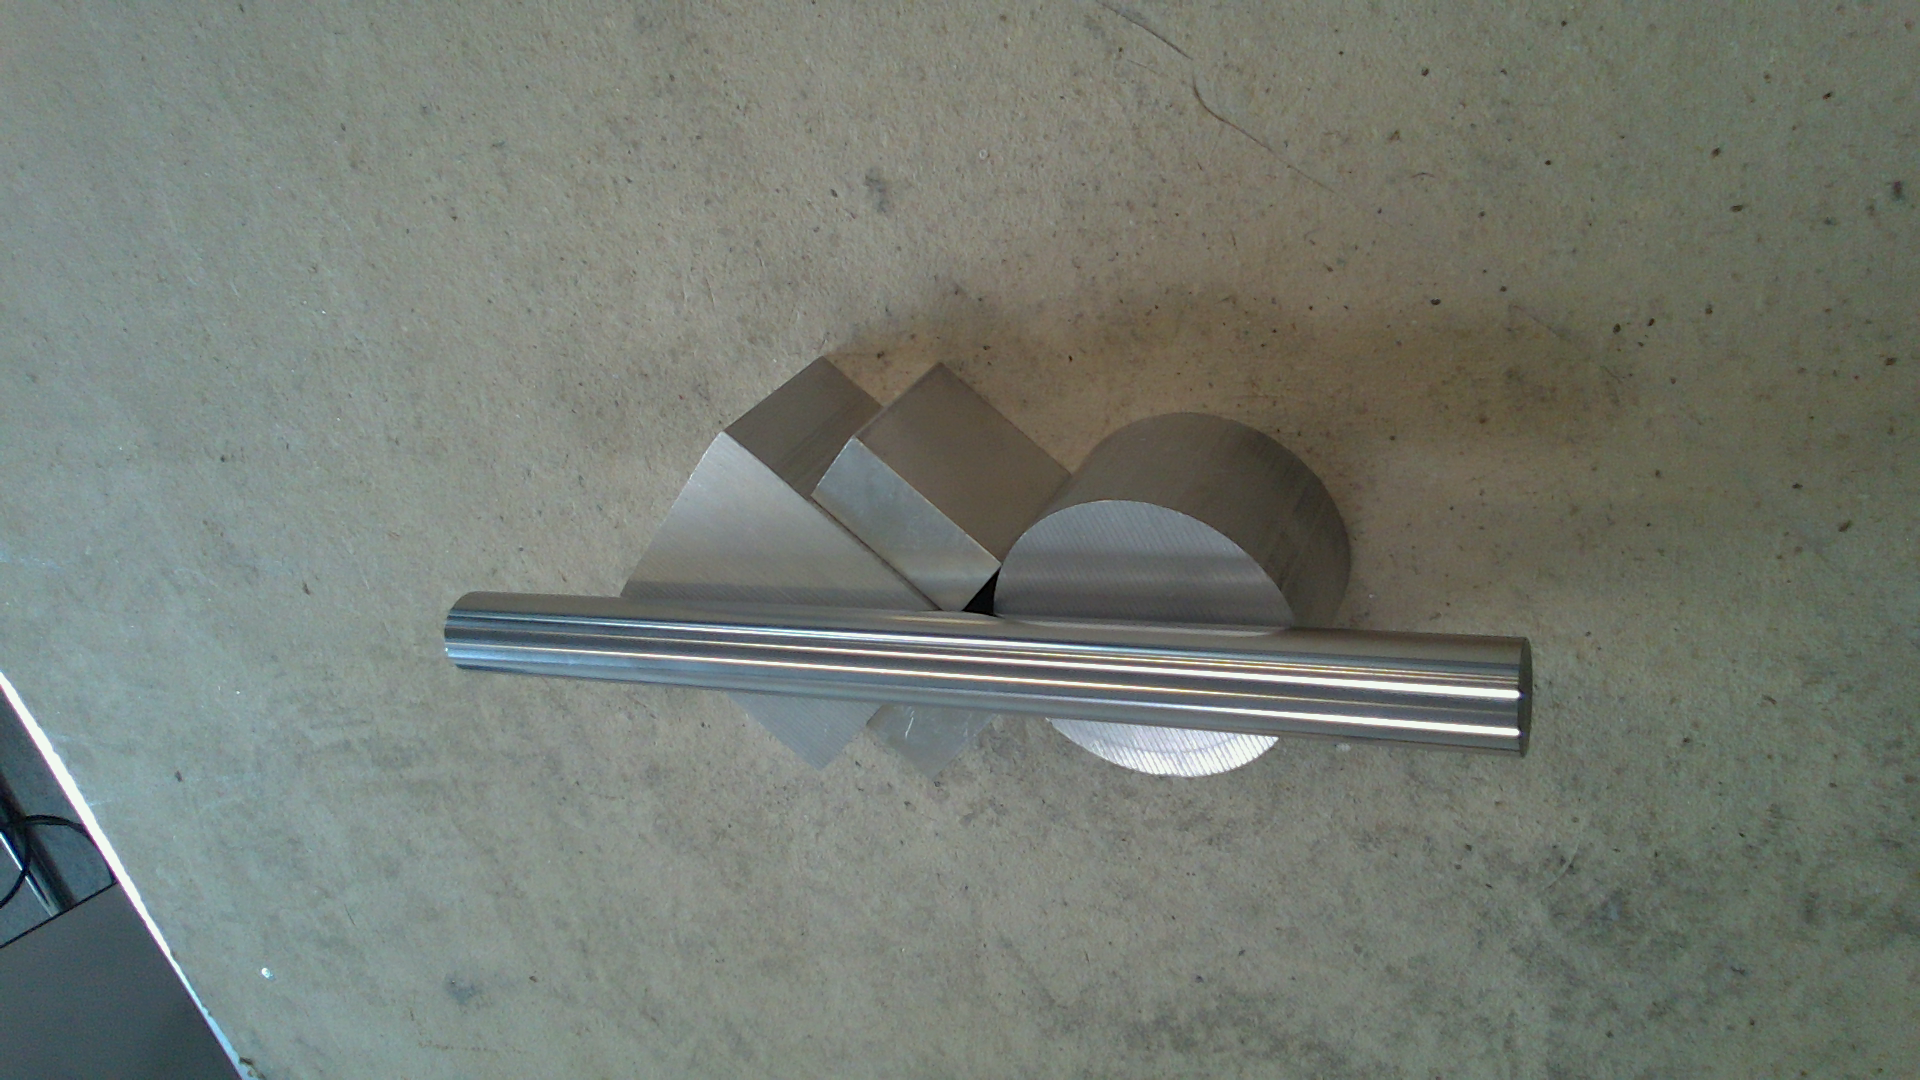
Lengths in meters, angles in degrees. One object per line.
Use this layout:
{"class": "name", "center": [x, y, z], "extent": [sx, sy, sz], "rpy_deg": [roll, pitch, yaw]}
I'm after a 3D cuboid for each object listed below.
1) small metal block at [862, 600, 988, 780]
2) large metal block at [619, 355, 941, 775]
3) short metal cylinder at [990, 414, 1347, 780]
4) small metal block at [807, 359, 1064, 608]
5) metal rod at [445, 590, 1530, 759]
{"class": "small metal block", "center": [0.004, 0.034, 0.397], "extent": [0.025, 0.050, 0.050], "rpy_deg": [40, 129, 0]}
{"class": "large metal block", "center": [-0.042, 0.008, 0.403], "extent": [0.080, 0.050, 0.080], "rpy_deg": [41, 129, 0]}
{"class": "short metal cylinder", "center": [0.054, 0.014, 0.356], "extent": [0.080, 0.050, 0.080], "rpy_deg": [13, 124, 21]}
{"class": "small metal block", "center": [-0.004, -0.015, 0.371], "extent": [0.050, 0.050, 0.025], "rpy_deg": [40, 129, 0]}
{"class": "metal rod", "center": [-0.016, 0.030, 0.353], "extent": [0.299, 0.025, 0.025], "rpy_deg": [1, 119, 28]}
